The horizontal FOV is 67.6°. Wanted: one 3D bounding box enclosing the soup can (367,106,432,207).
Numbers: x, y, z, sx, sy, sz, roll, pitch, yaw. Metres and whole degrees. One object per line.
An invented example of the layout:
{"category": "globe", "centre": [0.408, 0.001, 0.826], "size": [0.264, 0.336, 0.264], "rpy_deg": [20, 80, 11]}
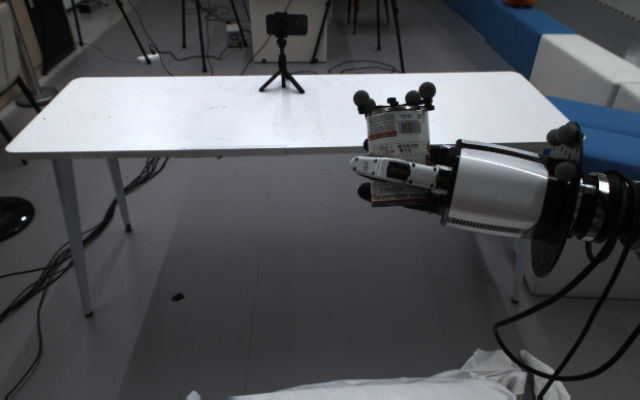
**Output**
{"category": "soup can", "centre": [0.088, -0.044, 0.522], "size": [0.067, 0.101, 0.067], "rpy_deg": [-3, -1, 0]}
